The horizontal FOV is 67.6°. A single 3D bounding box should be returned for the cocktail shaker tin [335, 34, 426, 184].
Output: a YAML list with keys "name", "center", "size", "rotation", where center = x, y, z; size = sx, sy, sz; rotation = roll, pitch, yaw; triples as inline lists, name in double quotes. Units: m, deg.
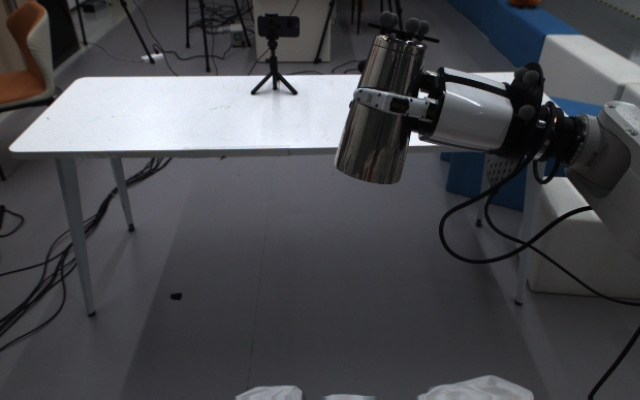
- name: "cocktail shaker tin"
  center: [0.082, -0.117, 0.617]
  size: [0.093, 0.170, 0.093]
  rotation: [11, 22, -5]
